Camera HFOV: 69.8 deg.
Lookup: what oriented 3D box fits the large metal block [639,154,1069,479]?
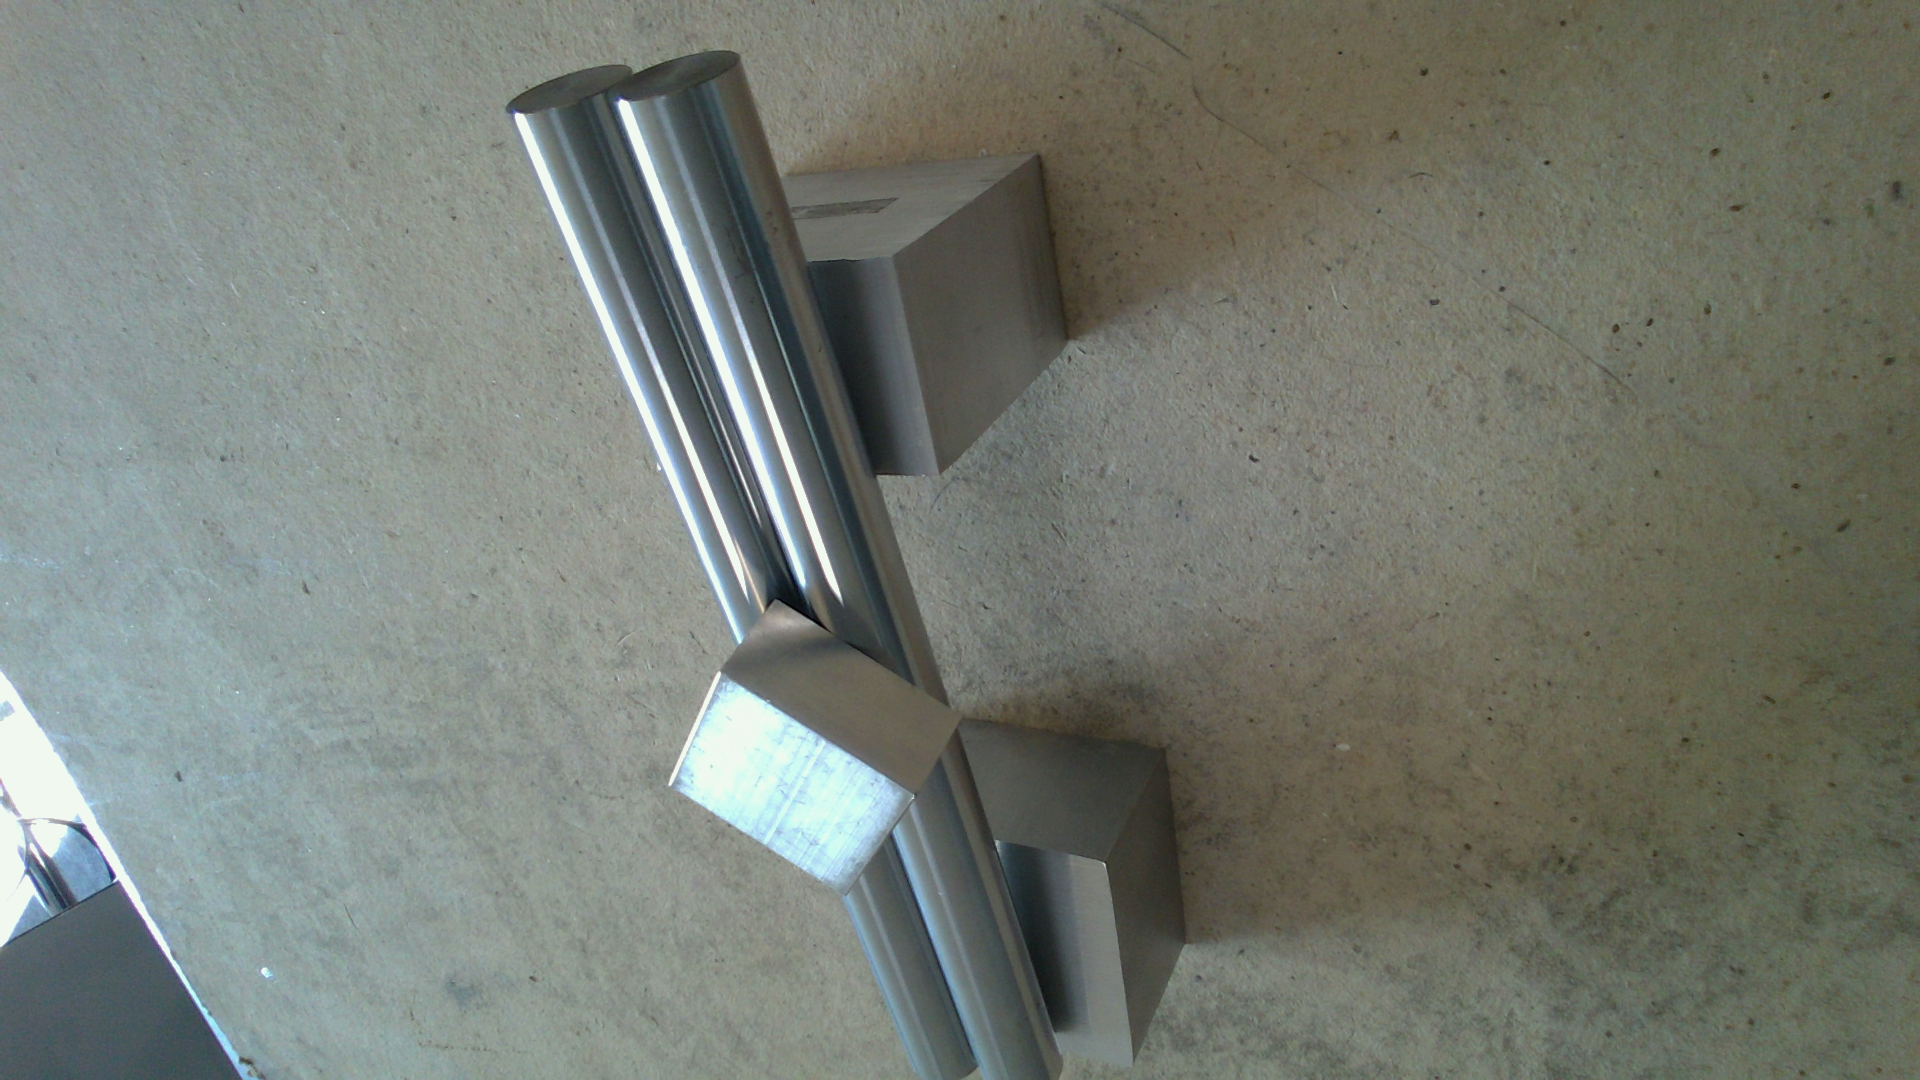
[{"bbox_3d":[-0.028,-0.056,0.338,0.080,0.080,0.050,3,120,27],"label":"large metal block"}]

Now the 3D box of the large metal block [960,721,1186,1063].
[{"bbox_3d":[0.022,0.107,0.431,0.080,0.050,0.080,5,121,26],"label":"large metal block"}]

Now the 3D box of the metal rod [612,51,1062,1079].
[{"bbox_3d":[-0.016,0.037,0.330,0.025,0.025,0.300,3,127,27],"label":"metal rod"}]

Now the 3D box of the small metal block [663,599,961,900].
[{"bbox_3d":[-0.035,0.049,0.316,0.050,0.025,0.050,32,135,1],"label":"small metal block"}]

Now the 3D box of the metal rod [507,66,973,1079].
[{"bbox_3d":[-0.039,0.036,0.342,0.025,0.025,0.300,3,127,27],"label":"metal rod"}]
